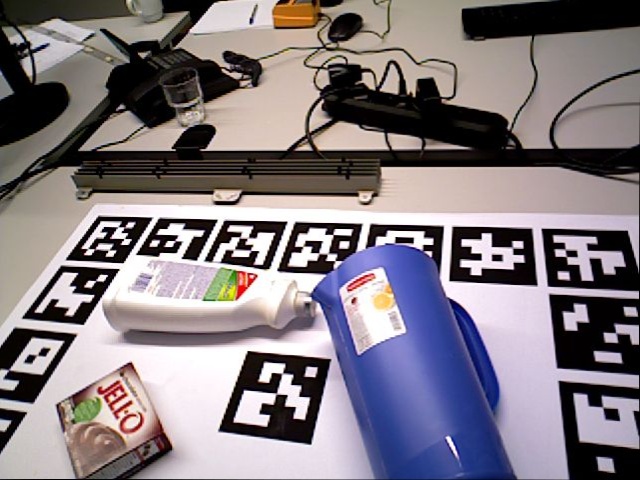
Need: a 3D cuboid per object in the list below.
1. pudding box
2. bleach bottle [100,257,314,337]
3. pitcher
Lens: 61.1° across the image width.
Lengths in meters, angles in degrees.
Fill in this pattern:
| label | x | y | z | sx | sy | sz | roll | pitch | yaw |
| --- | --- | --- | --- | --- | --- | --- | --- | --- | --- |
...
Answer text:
| label | x | y | z | sx | sy | sz | roll | pitch | yaw |
| --- | --- | --- | --- | --- | --- | --- | --- | --- | --- |
| pudding box | -0.227 | 0.194 | 0.559 | 0.088 | 0.039 | 0.113 | -24 | 46 | -21 |
| bleach bottle | -0.133 | 0.073 | 0.654 | 0.251 | 0.069 | 0.100 | 2 | 49 | 12 |
| pitcher | 0.093 | 0.146 | 0.501 | 0.186 | 0.137 | 0.239 | 11 | 41 | -27 |
